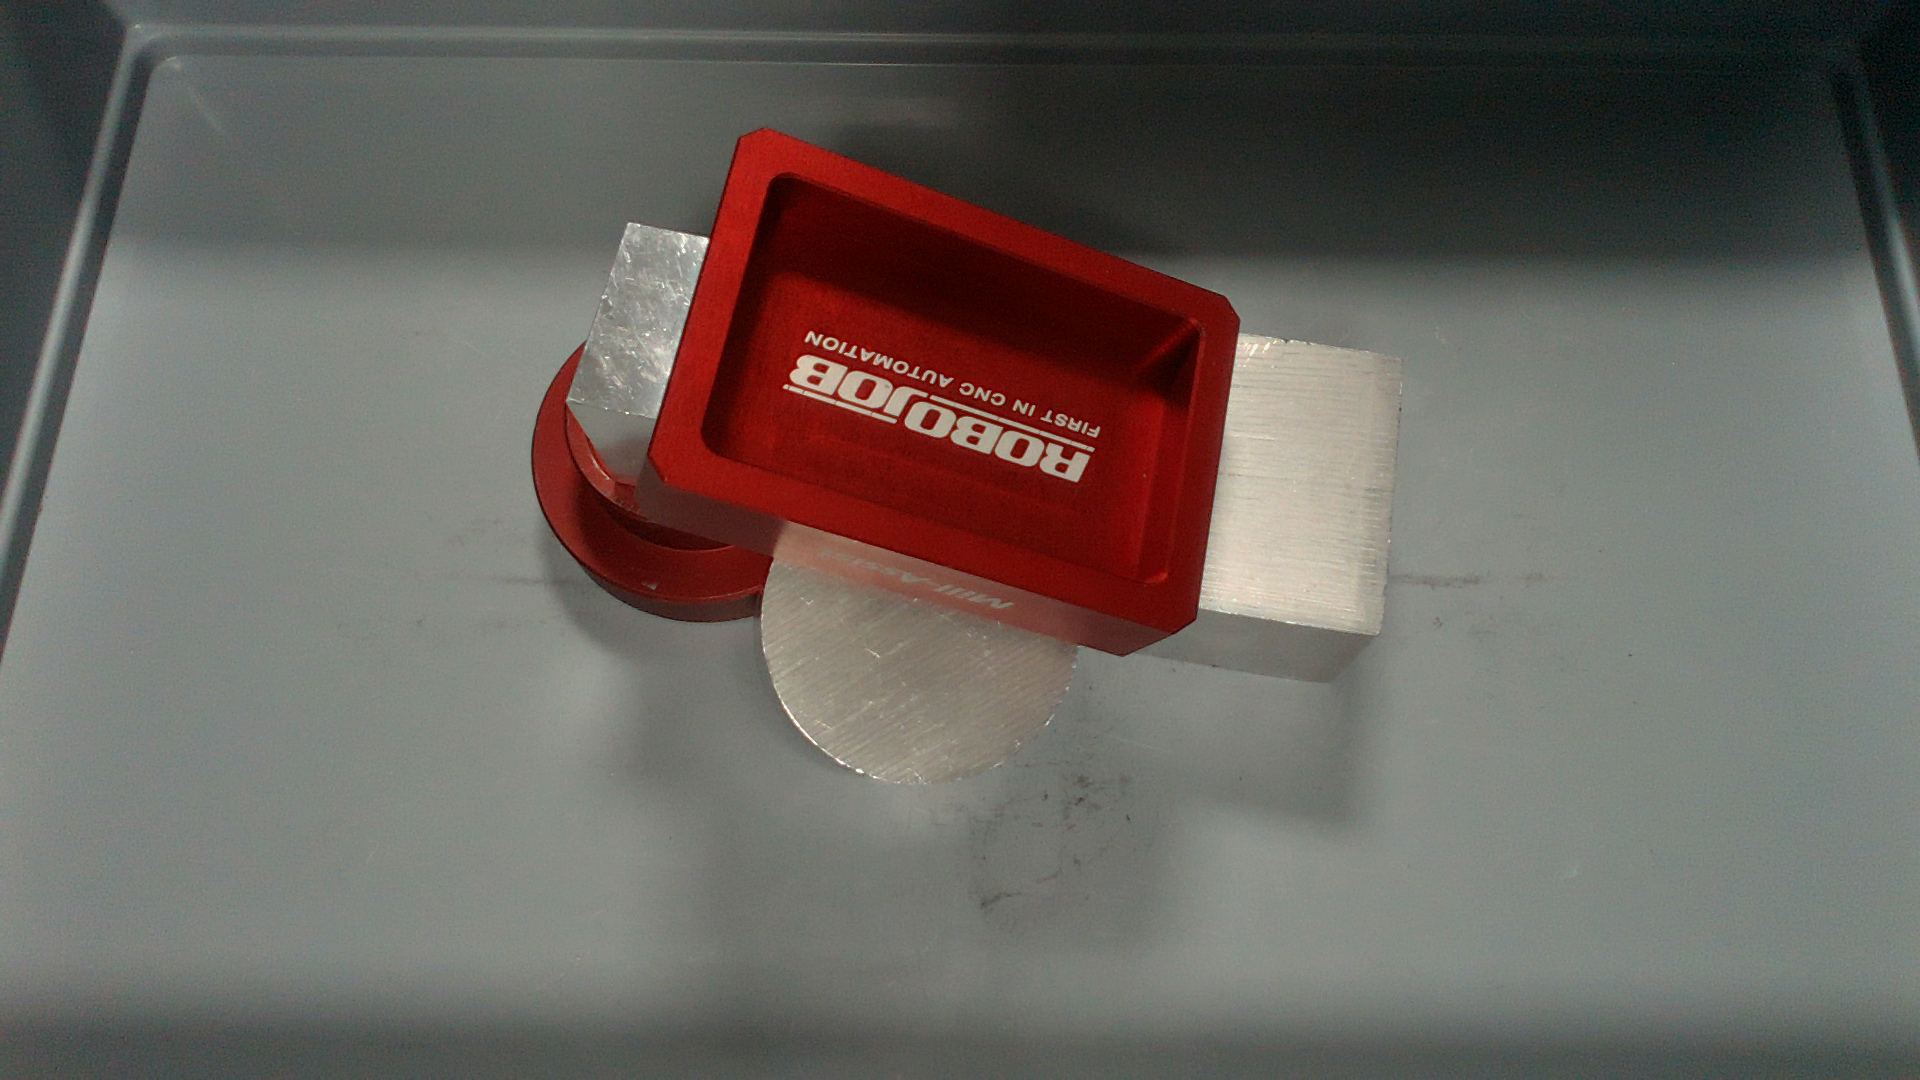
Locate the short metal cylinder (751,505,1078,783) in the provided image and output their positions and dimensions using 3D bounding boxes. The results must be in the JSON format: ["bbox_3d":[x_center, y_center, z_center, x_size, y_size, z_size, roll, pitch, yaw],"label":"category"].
[{"bbox_3d":[-0.014,0.022,0.360,0.080,0.050,0.080,1,83,-11],"label":"short metal cylinder"}]

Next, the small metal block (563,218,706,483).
[{"bbox_3d":[-0.075,-0.045,0.351,0.025,0.050,0.050,11,70,4],"label":"small metal block"}]

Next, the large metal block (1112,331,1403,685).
[{"bbox_3d":[0.073,-0.011,0.383,0.080,0.050,0.080,9,70,3],"label":"large metal block"}]

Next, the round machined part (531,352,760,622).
[{"bbox_3d":[-0.074,-0.029,0.395,0.098,0.042,0.098,0,70,0],"label":"round machined part"}]

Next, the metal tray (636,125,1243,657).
[{"bbox_3d":[-0.002,-0.033,0.328,0.130,0.030,0.090,17,70,-14],"label":"metal tray"}]
